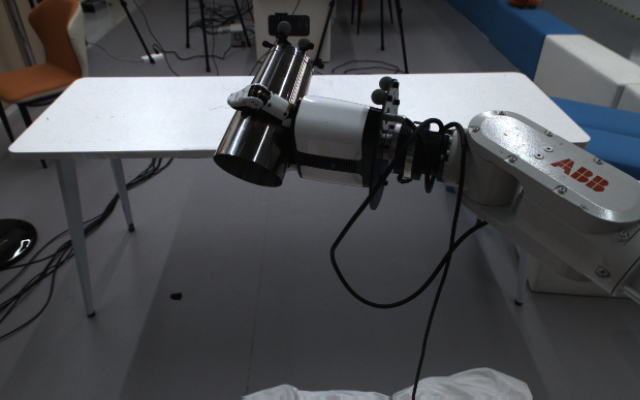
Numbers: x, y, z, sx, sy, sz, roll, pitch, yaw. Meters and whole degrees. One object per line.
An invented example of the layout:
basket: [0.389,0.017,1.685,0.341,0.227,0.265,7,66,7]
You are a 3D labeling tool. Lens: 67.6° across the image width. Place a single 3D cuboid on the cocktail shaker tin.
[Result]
cocktail shaker tin: [-0.065,-0.112,0.629,0.093,0.093,0.170,14,73,17]
